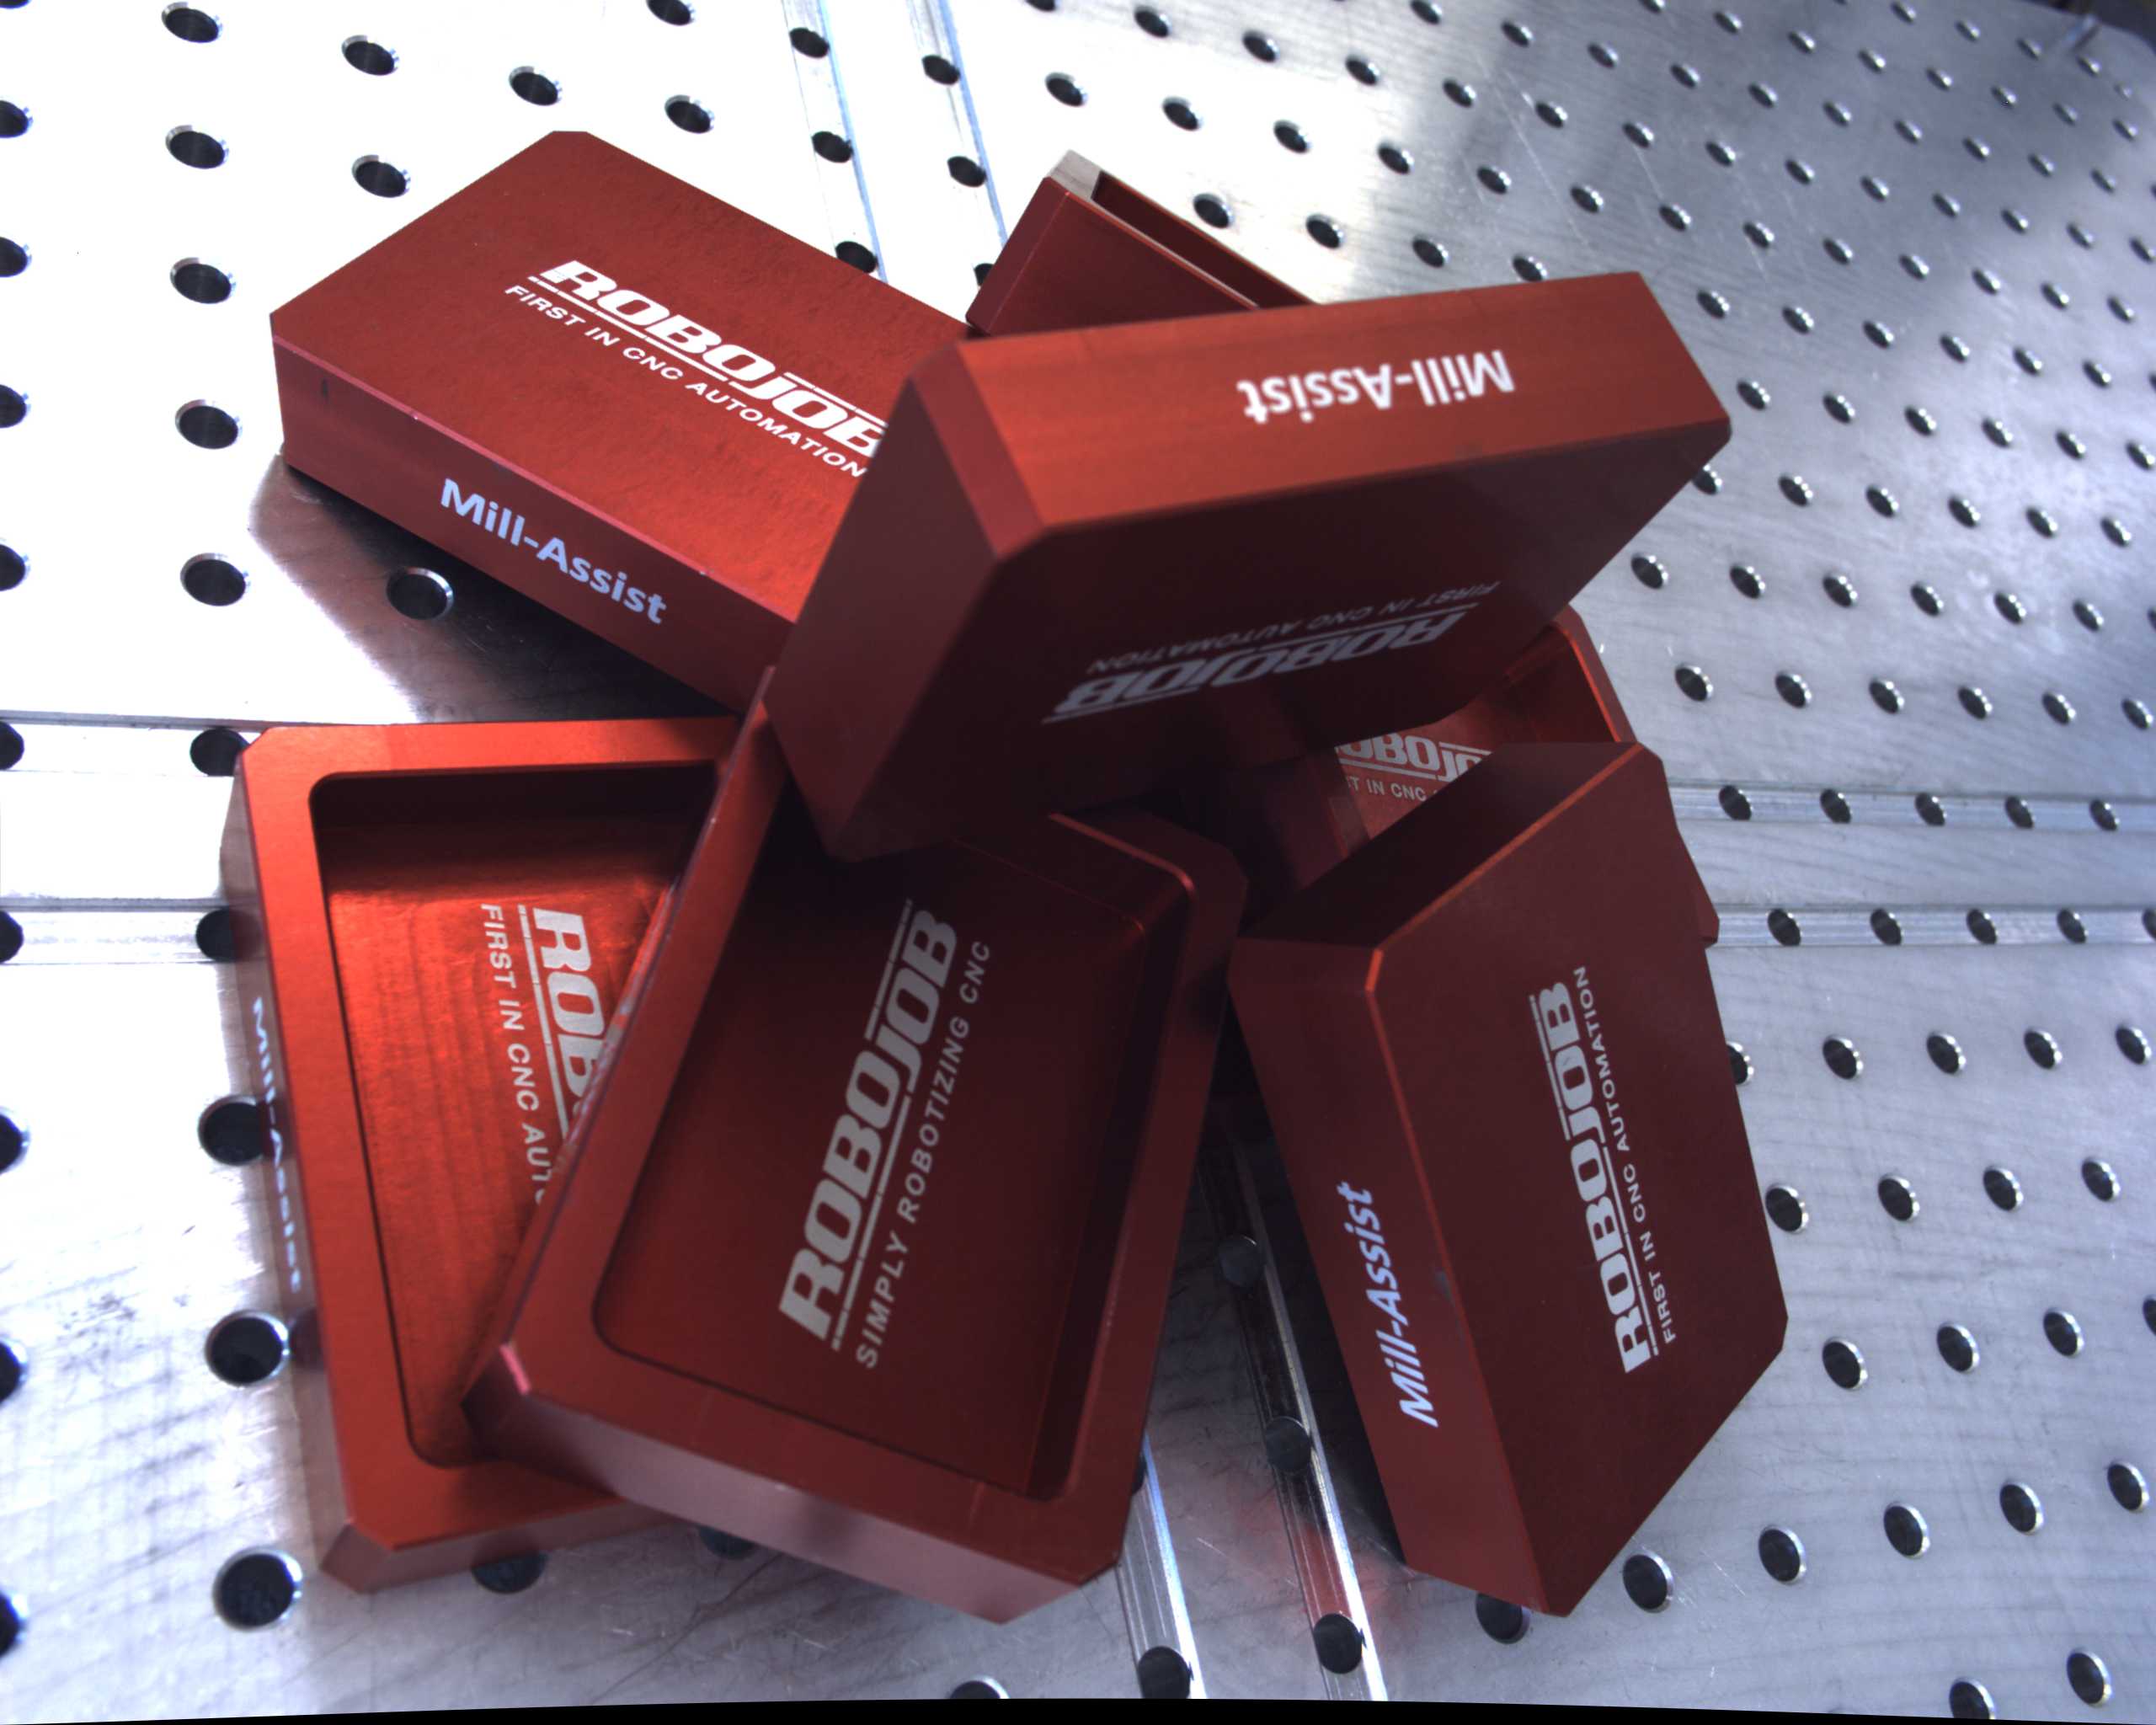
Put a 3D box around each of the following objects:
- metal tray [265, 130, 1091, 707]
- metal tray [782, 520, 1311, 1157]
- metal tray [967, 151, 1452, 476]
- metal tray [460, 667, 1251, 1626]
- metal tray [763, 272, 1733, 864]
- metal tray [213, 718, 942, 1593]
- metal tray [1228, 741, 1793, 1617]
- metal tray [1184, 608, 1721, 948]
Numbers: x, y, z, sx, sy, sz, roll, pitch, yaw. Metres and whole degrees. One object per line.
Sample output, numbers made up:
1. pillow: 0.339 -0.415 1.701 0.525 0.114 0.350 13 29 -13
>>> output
1. metal tray: -0.071 -0.083 0.395 0.130 0.030 0.090 29 51 10
2. metal tray: -0.008 -0.007 0.404 0.091 0.030 0.130 -4 61 -32
3. metal tray: 0.028 -0.112 0.444 0.090 0.030 0.130 29 19 -9
4. metal tray: -0.028 0.040 0.326 0.090 0.030 0.130 24 53 -13
5. metal tray: 0.025 -0.046 0.325 0.131 0.090 0.030 -14 69 -29
6. metal tray: -0.082 0.040 0.337 0.091 0.030 0.130 -4 63 -31
7. metal tray: 0.082 0.054 0.373 0.091 0.030 0.129 -33 113 -37
8. metal tray: 0.073 -0.020 0.432 0.131 0.030 0.090 6 58 -45
